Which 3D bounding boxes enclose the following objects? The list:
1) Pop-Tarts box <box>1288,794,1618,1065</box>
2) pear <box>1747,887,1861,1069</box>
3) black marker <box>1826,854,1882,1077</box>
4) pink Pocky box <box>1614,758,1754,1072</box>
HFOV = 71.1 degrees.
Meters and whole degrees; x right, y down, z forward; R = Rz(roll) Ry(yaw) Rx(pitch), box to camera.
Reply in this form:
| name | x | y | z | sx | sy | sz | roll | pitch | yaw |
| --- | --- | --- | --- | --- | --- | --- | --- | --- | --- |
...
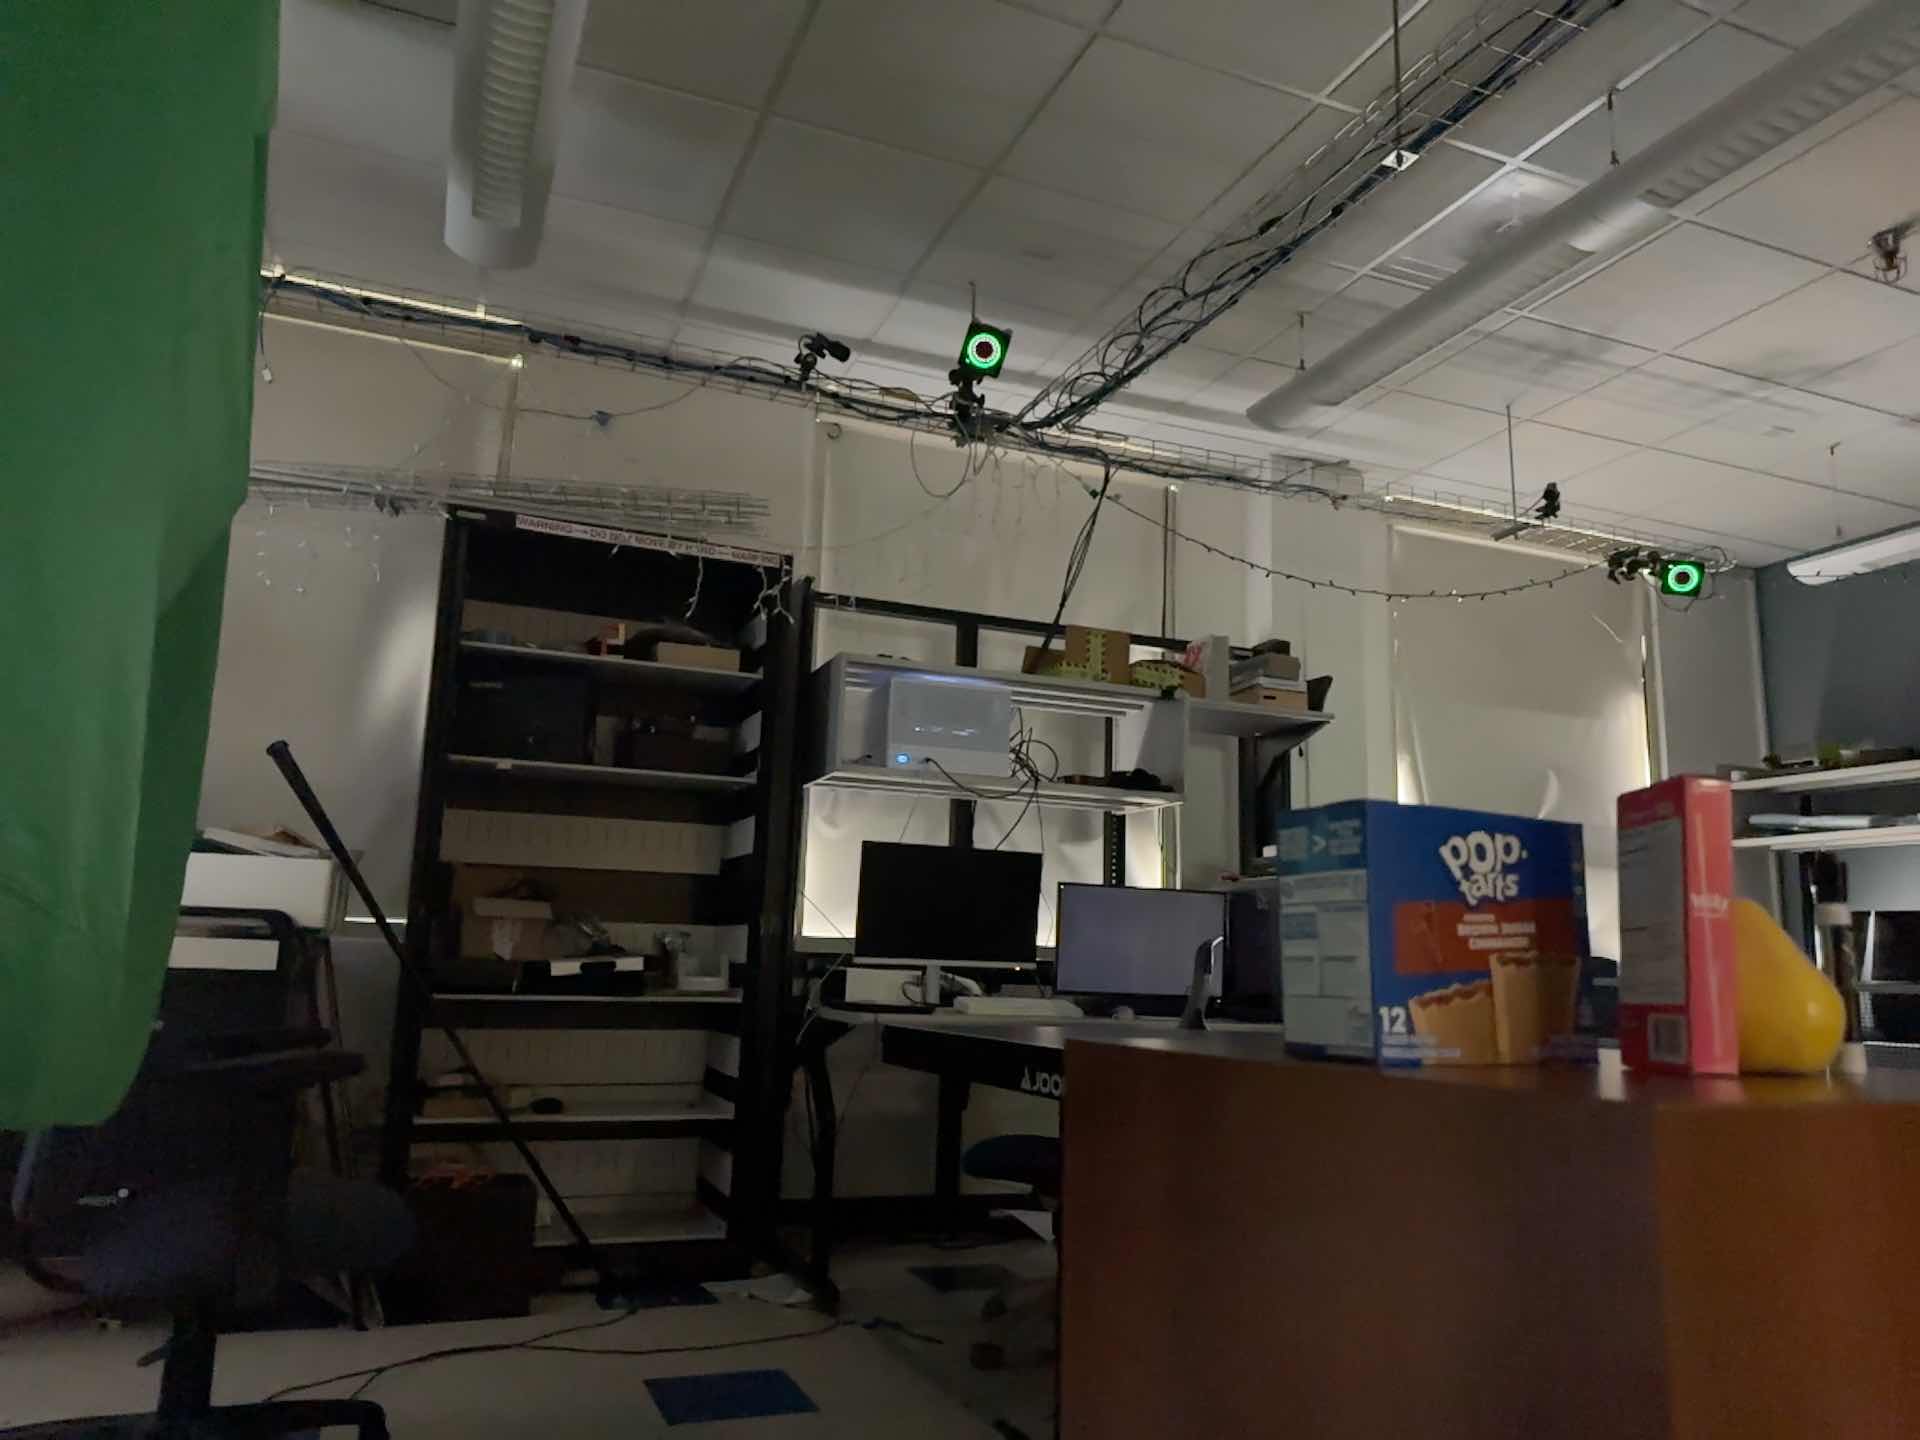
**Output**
| name | x | y | z | sx | sy | sz | roll | pitch | yaw |
| --- | --- | --- | --- | --- | --- | --- | --- | --- | --- |
| Pop-Tarts box | 0.278 | 0.121 | 0.762 | 0.161 | 0.135 | 0.075 | 7 | -12 | -25 |
| pear | 0.429 | 0.127 | 0.715 | 0.080 | 0.111 | 0.080 | 2 | -11 | 0 |
| black marker | 0.499 | 0.136 | 0.751 | 0.020 | 0.121 | 0.020 | 2 | -9 | 0 |
| pink Pocky box | 0.376 | 0.101 | 0.704 | 0.029 | 0.155 | 0.084 | 3 | -9 | 1 |
